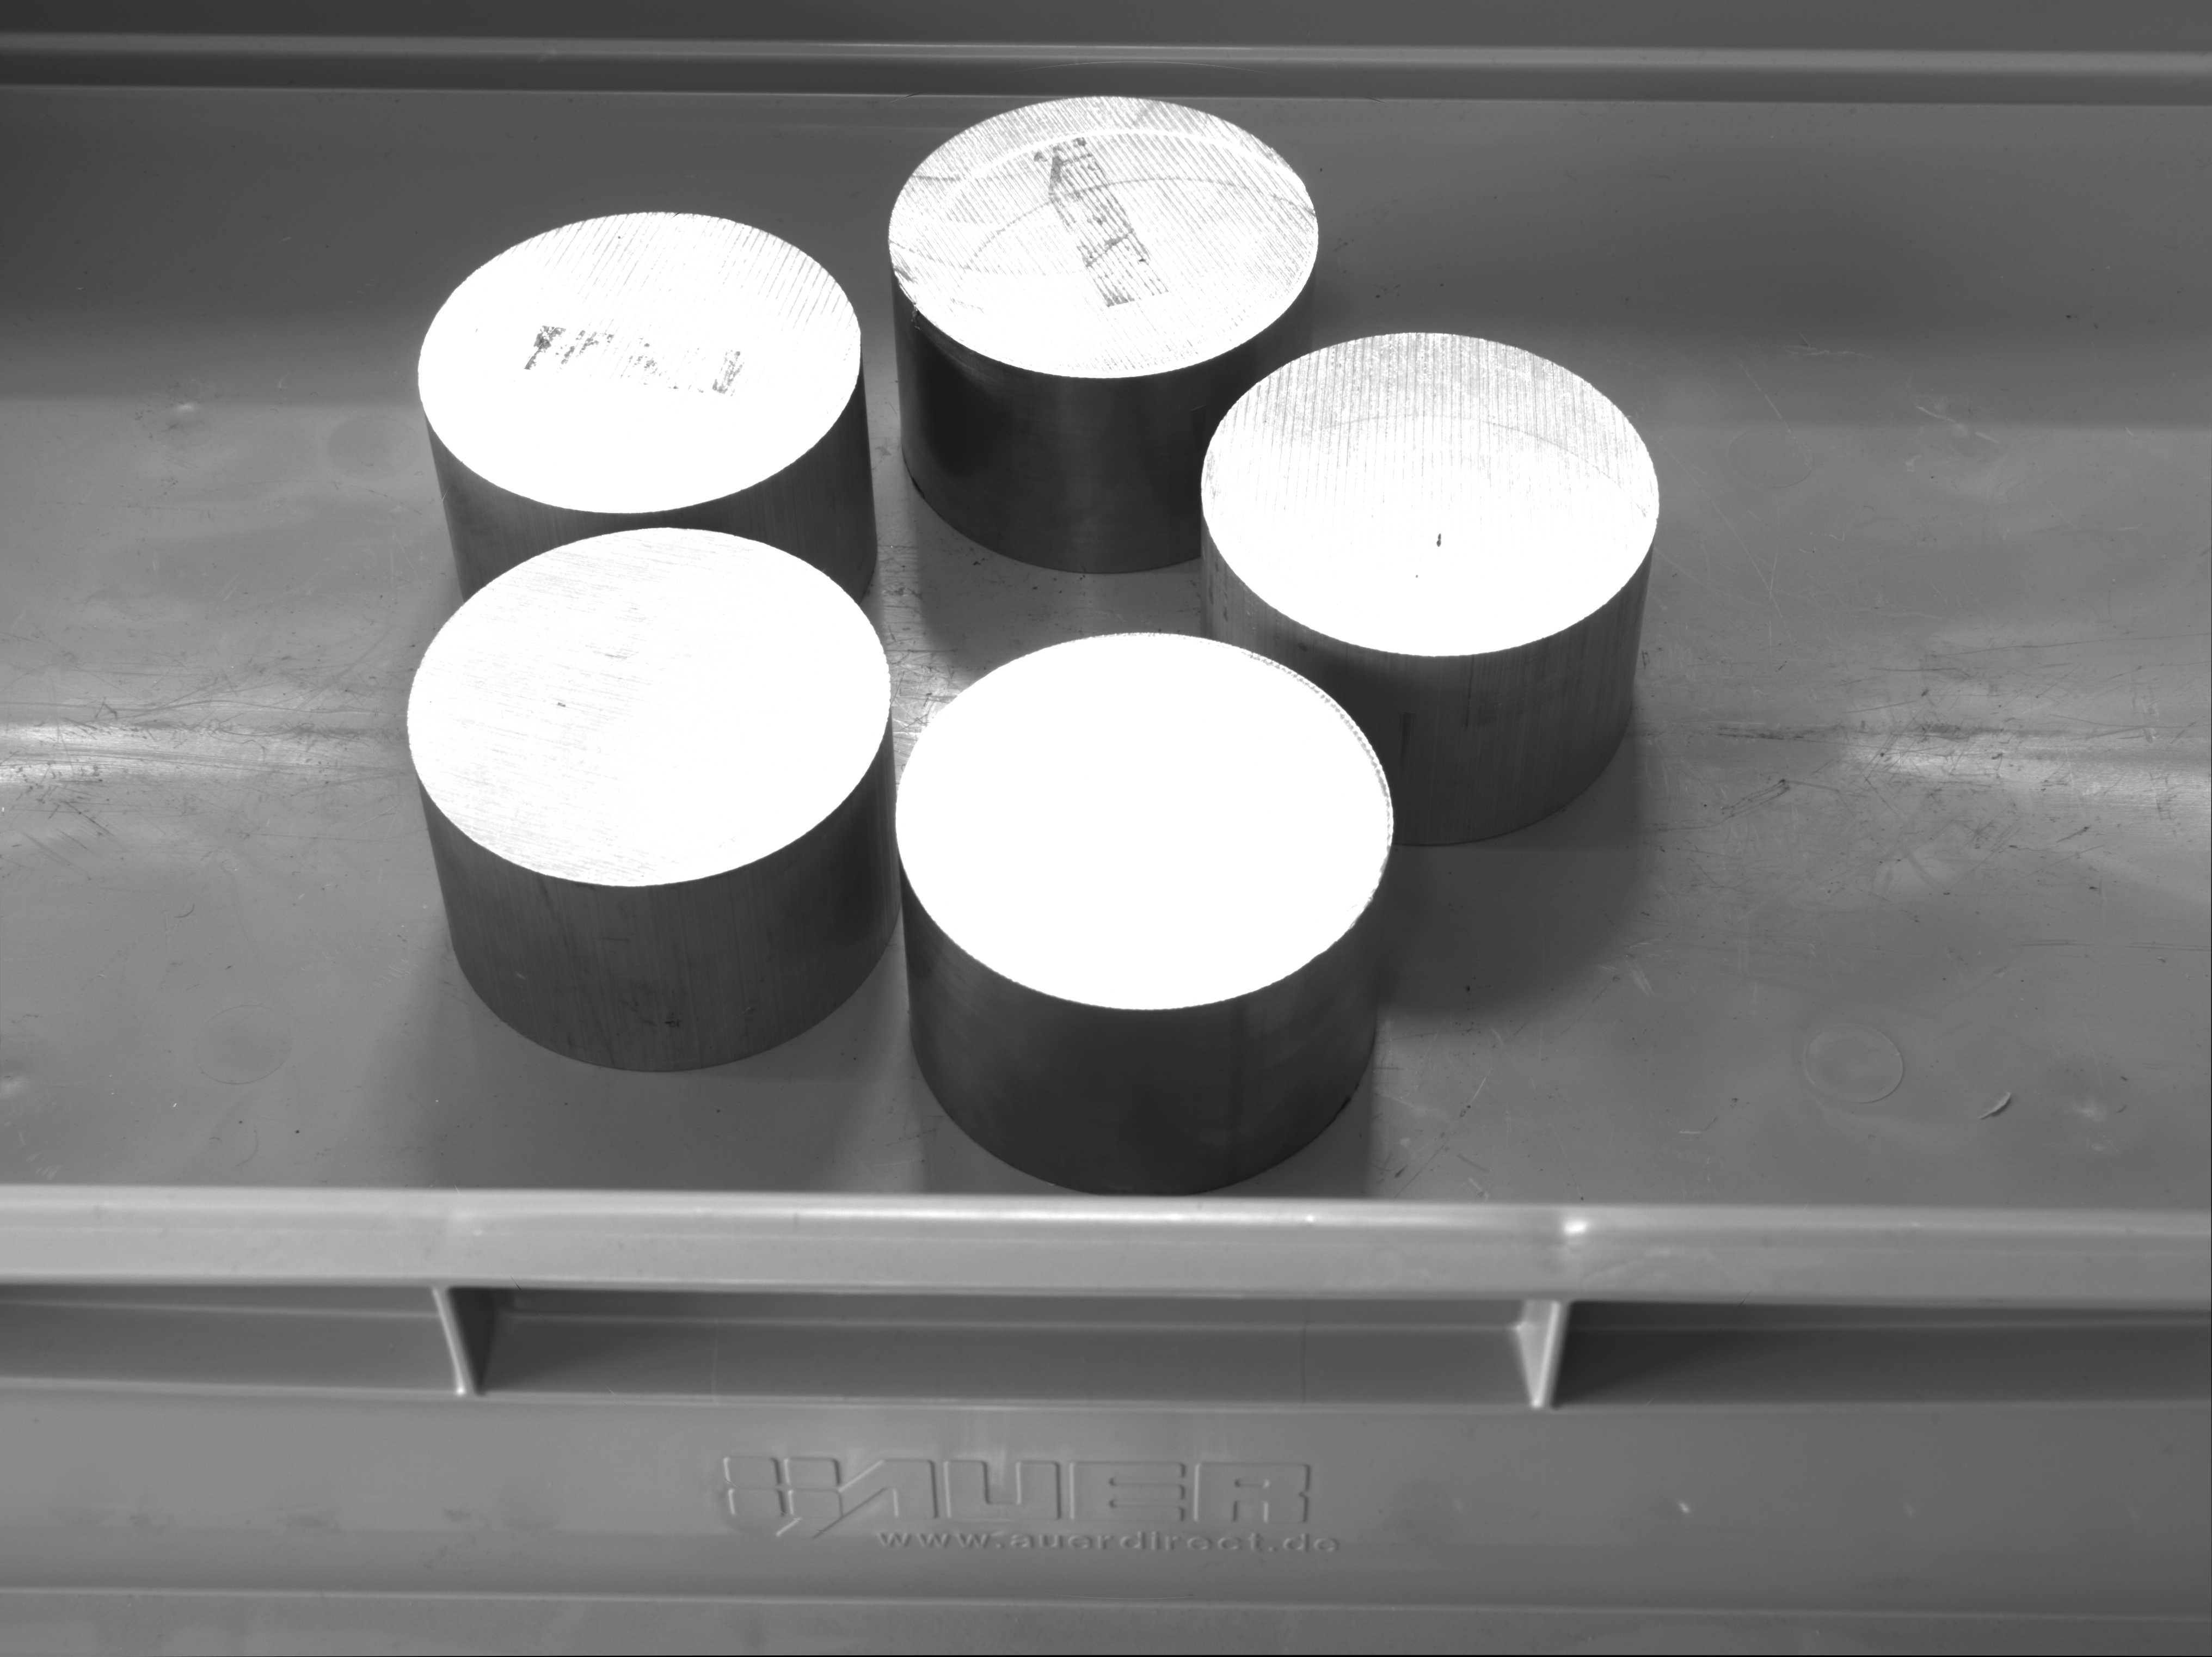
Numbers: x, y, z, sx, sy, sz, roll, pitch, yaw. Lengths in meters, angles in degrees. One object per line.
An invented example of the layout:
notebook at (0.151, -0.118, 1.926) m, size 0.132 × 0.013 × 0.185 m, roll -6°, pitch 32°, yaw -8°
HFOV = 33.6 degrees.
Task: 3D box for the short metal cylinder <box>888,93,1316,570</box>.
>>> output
short metal cylinder at (-0.001, -0.096, 0.704) m, size 0.080 × 0.050 × 0.080 m, roll 0°, pitch 50°, yaw 0°

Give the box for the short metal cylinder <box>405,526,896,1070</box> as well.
short metal cylinder at (-0.076, -0.006, 0.628) m, size 0.080 × 0.050 × 0.080 m, roll 0°, pitch 50°, yaw 0°

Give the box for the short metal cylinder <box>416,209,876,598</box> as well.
short metal cylinder at (-0.084, -0.070, 0.682) m, size 0.080 × 0.050 × 0.080 m, roll 0°, pitch 50°, yaw 0°

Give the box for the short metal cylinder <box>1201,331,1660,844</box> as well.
short metal cylinder at (0.057, -0.044, 0.660) m, size 0.080 × 0.050 × 0.080 m, roll 0°, pitch 50°, yaw 0°

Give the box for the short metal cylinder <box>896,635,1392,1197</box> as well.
short metal cylinder at (0.006, 0.014, 0.611) m, size 0.080 × 0.050 × 0.080 m, roll 0°, pitch 50°, yaw 0°
